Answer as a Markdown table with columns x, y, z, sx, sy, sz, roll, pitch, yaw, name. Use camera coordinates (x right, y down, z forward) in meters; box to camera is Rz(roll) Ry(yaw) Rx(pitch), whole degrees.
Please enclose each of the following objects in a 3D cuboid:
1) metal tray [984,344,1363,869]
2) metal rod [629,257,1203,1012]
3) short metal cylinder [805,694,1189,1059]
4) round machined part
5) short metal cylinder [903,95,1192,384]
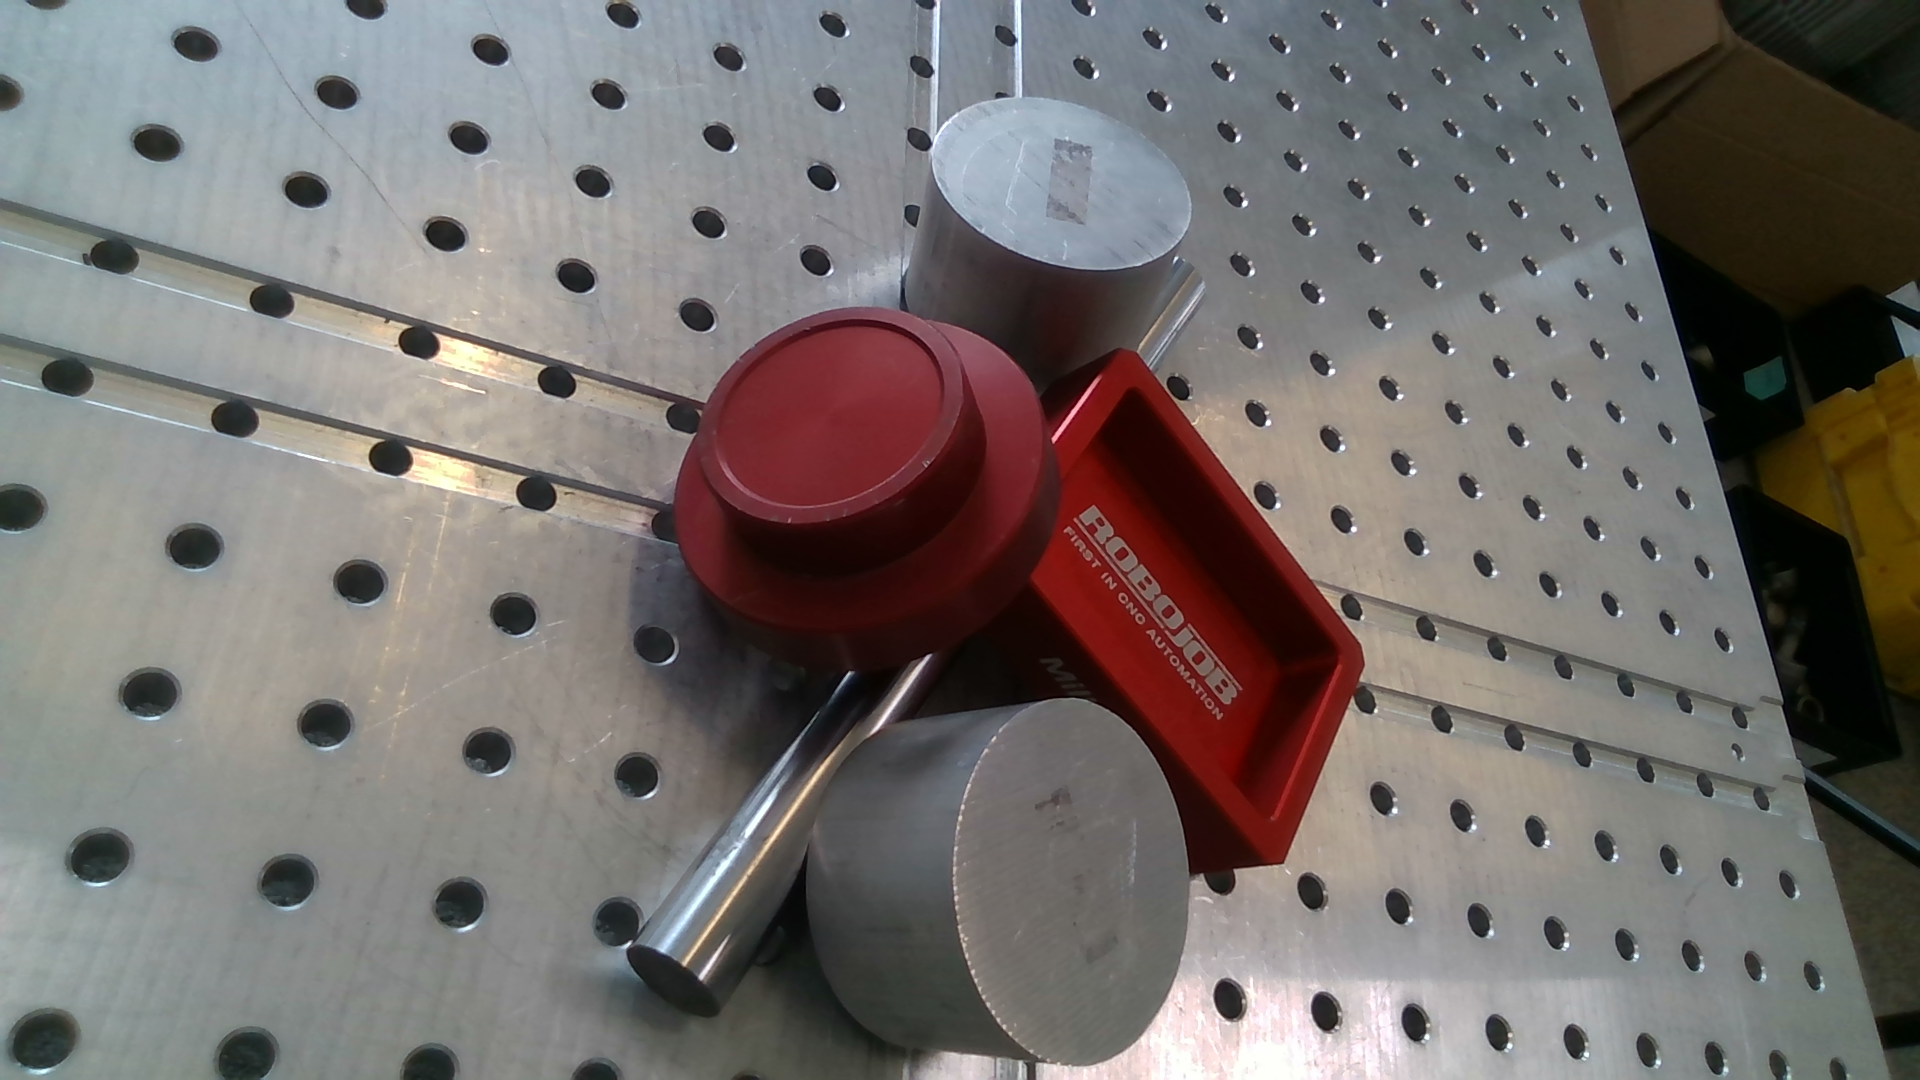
| x | y | z | sx | sy | sz | roll | pitch | yaw | name |
| --- | --- | --- | --- | --- | --- | --- | --- | --- | --- |
| 0.059 | 0.020 | 0.400 | 0.130 | 0.030 | 0.090 | 50 | 49 | -17 | metal tray |
| 0.006 | 0.003 | 0.399 | 0.025 | 0.025 | 0.299 | 41 | 51 | -6 | metal rod |
| 0.010 | 0.079 | 0.329 | 0.080 | 0.050 | 0.080 | 13 | 71 | -43 | short metal cylinder |
| -0.027 | -0.021 | 0.345 | 0.098 | 0.042 | 0.098 | -8 | 55 | 12 | round machined part |
| 0.026 | -0.094 | 0.431 | 0.080 | 0.050 | 0.080 | 7 | 51 | -9 | short metal cylinder |
